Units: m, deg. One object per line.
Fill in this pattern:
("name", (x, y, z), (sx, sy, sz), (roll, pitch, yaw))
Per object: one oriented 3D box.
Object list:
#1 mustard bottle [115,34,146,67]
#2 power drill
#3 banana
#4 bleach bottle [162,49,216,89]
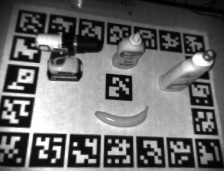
("mustard bottle", (0.077, -0.125, 0.758), (0.097, 0.191, 0.058), (-3, 72, -14))
("power drill", (-0.105, -0.106, 0.678), (0.185, 0.187, 0.057), (-2, 72, -8))
("banana", (0.056, 0.097, 0.751), (0.198, 0.039, 0.074), (-1, 74, -10))
("bleach bottle", (0.269, -0.059, 0.746), (0.103, 0.250, 0.068), (12, 70, -7))
